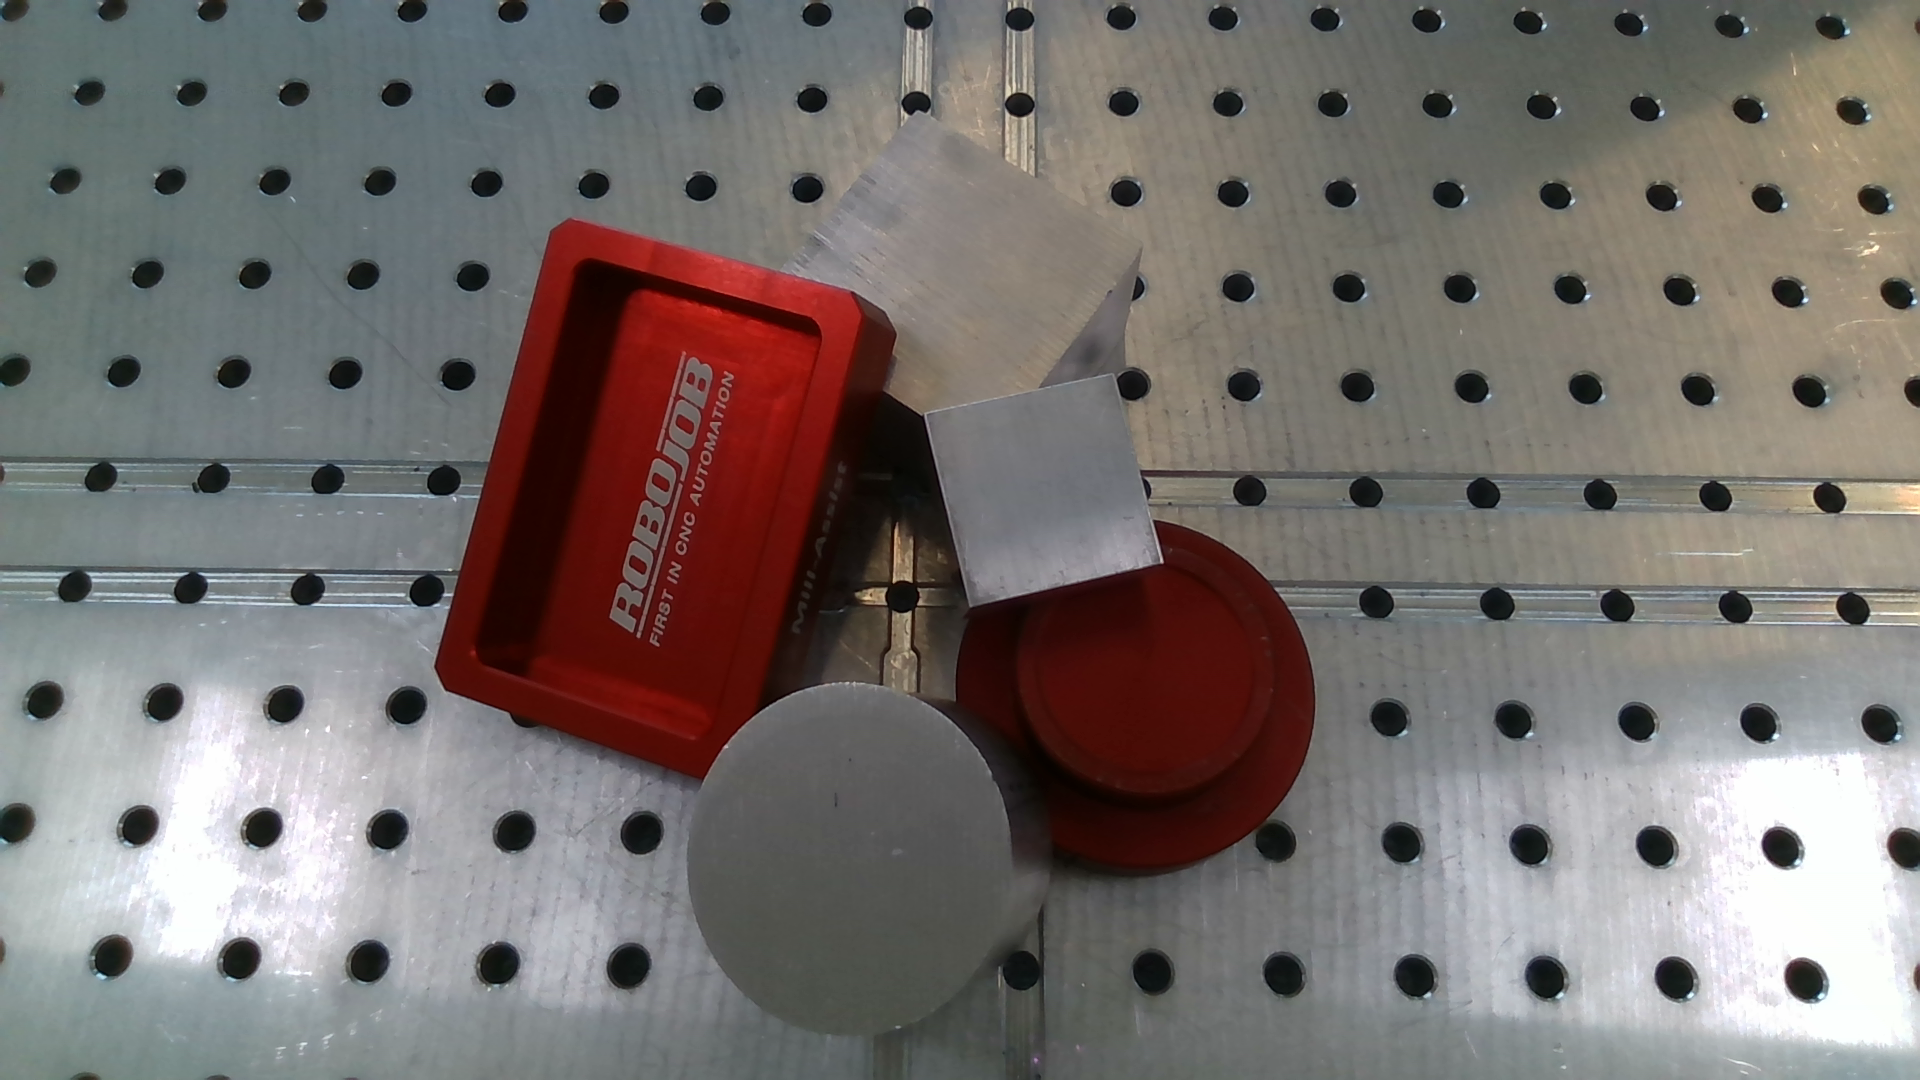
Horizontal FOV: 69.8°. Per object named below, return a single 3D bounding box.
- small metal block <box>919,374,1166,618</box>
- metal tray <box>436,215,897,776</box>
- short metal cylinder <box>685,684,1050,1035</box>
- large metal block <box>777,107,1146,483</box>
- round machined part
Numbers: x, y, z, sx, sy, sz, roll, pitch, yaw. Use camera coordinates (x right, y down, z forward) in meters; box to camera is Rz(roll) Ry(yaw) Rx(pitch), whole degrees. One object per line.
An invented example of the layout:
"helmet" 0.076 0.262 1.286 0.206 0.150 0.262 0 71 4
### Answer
"small metal block" 0.020 -0.011 0.353 0.050 0.025 0.050 -12 82 -7
"metal tray" -0.079 -0.011 0.369 0.090 0.030 0.130 17 93 13
"short metal cylinder" -0.021 0.078 0.345 0.080 0.050 0.080 -2 81 14
"large metal block" -0.003 -0.066 0.408 0.080 0.050 0.080 34 74 11
"round machined part" 0.047 0.040 0.375 0.098 0.042 0.098 0 70 0
